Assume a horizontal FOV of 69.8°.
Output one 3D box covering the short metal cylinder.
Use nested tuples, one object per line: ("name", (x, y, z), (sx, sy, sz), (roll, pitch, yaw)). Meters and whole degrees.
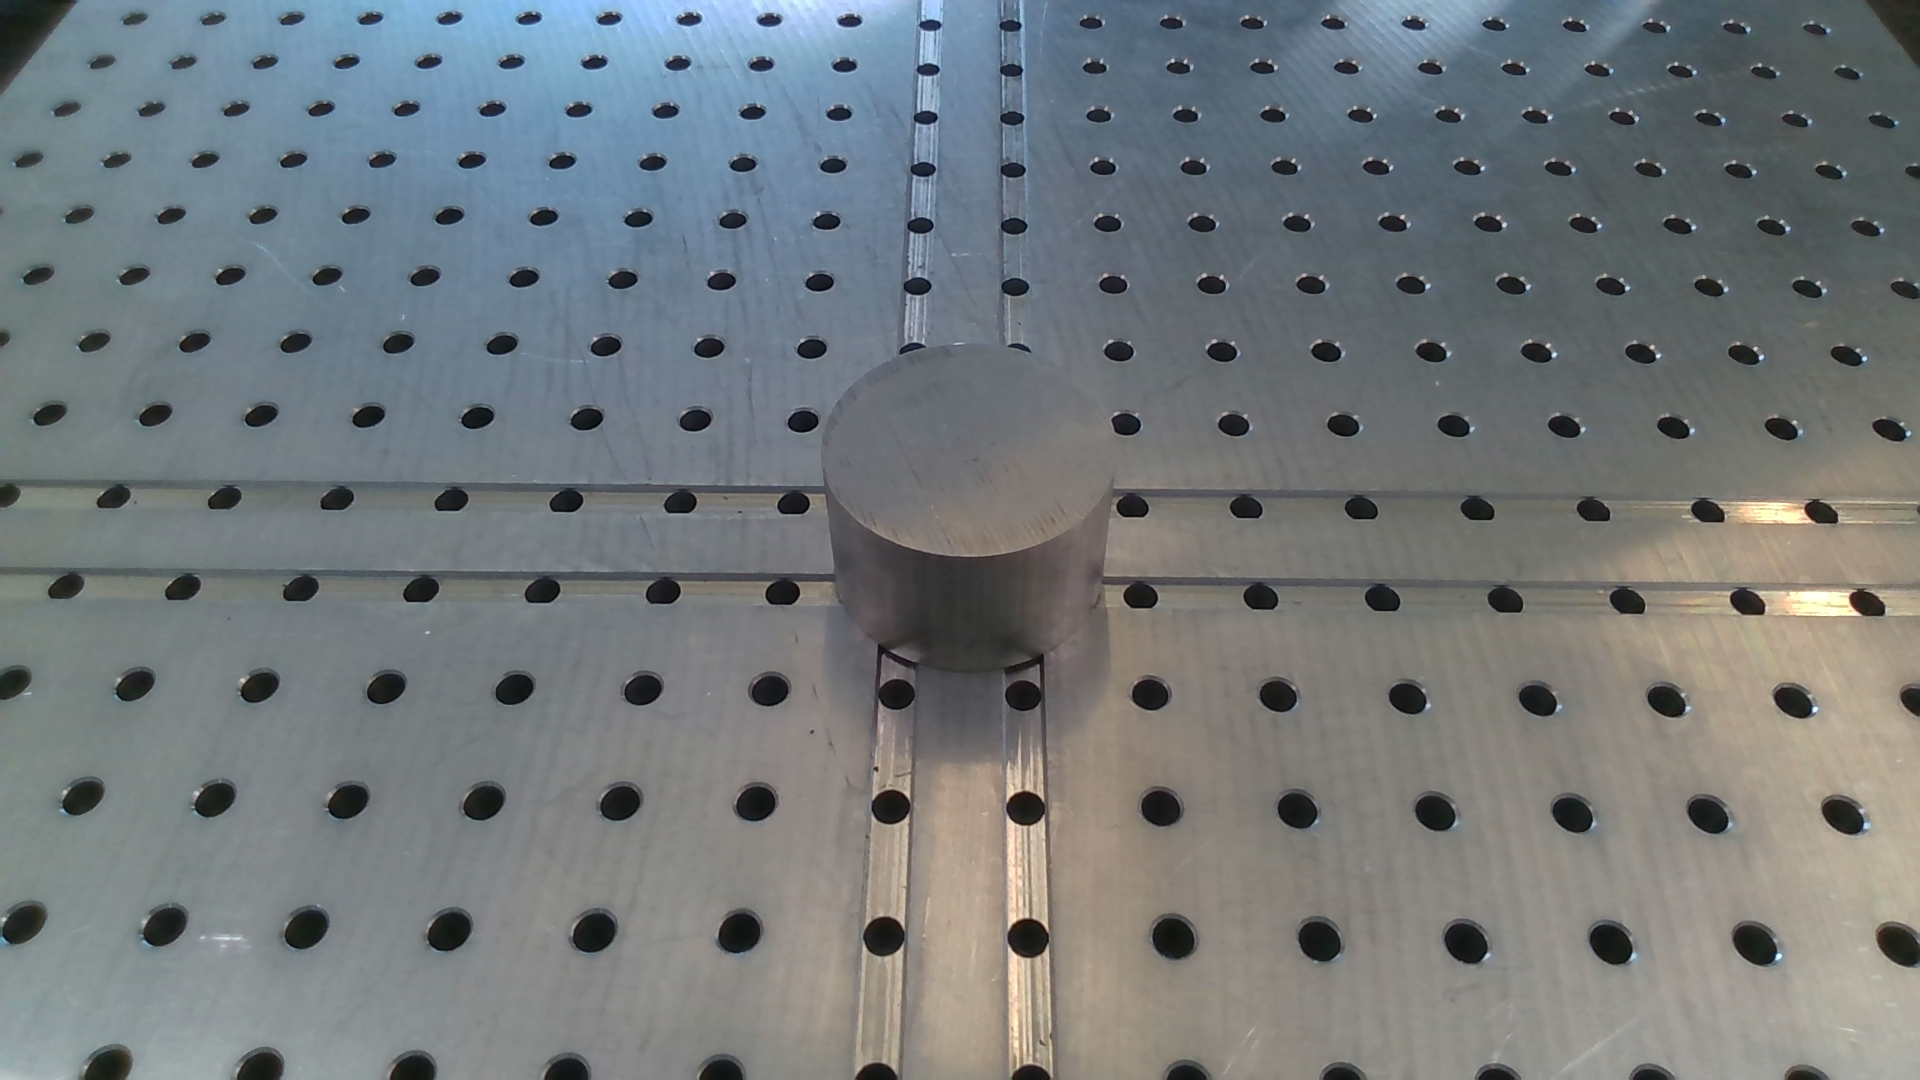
("short metal cylinder", (0.002, -0.011, 0.389), (0.080, 0.050, 0.080), (0, 50, 0))
